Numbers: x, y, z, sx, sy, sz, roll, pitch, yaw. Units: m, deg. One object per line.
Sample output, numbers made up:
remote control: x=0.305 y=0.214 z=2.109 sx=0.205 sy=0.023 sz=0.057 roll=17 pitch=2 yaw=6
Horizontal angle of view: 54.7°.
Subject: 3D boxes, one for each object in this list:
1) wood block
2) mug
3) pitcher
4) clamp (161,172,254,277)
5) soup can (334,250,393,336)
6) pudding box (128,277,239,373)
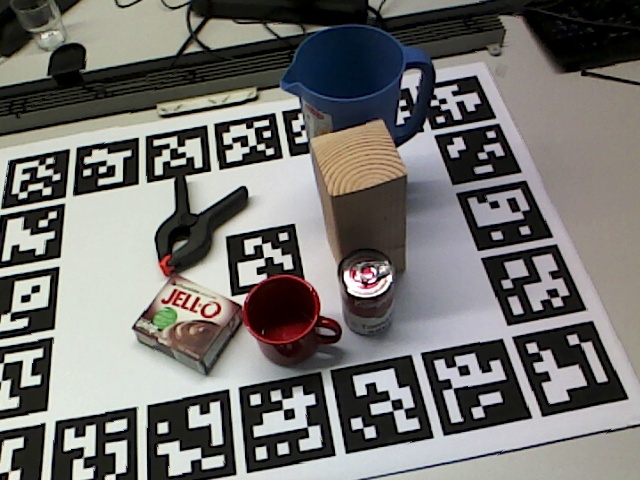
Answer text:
wood block: x=0.052 y=-0.038 z=0.767 sx=0.090 sy=0.205 sz=0.091 roll=-12 pitch=54 yaw=-5
mug: x=-0.032 y=0.107 z=0.755 sx=0.118 sy=0.081 sz=0.093 roll=19 pitch=57 yaw=21
pitcher: x=0.055 y=-0.149 z=0.825 sx=0.189 sy=0.241 sz=0.134 roll=-13 pitch=53 yaw=2
clamp: x=-0.181 y=-0.021 z=0.900 sx=0.122 sy=0.036 sz=0.165 roll=17 pitch=59 yaw=10
soup can: x=0.055 y=0.067 z=0.757 sx=0.068 sy=0.101 sz=0.068 roll=-3 pitch=57 yaw=5
pudding box: x=-0.176 y=0.109 z=0.802 sx=0.114 sy=0.038 sz=0.090 roll=21 pitch=63 yaw=21
